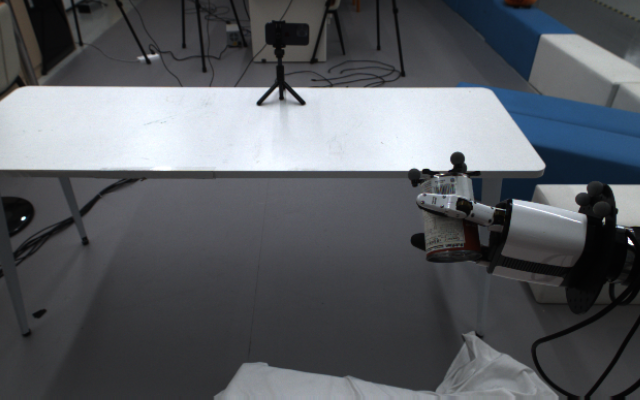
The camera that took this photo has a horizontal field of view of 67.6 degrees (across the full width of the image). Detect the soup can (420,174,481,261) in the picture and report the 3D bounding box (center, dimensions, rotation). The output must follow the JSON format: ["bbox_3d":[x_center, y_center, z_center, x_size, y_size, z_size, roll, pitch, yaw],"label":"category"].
[{"bbox_3d":[0.165,0.021,0.617,0.067,0.067,0.101,0,72,-4],"label":"soup can"}]
